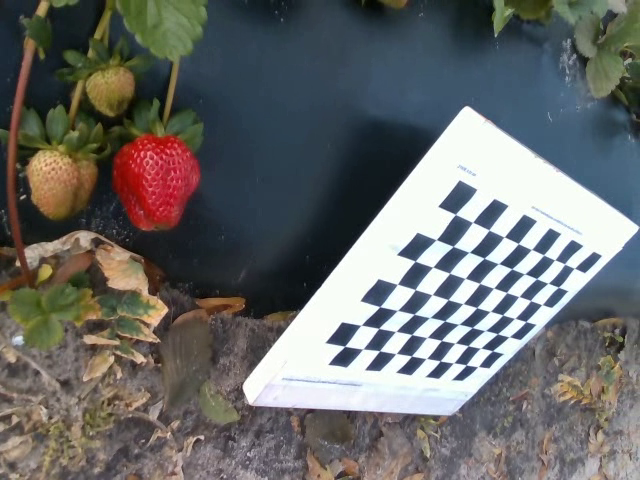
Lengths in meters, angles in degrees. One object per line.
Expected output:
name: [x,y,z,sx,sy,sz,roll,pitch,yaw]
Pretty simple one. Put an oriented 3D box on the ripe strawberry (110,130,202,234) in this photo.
ripe strawberry: [-0.090,-0.028,0.352,0.066,0.074,0.052,-2,41,-33]
